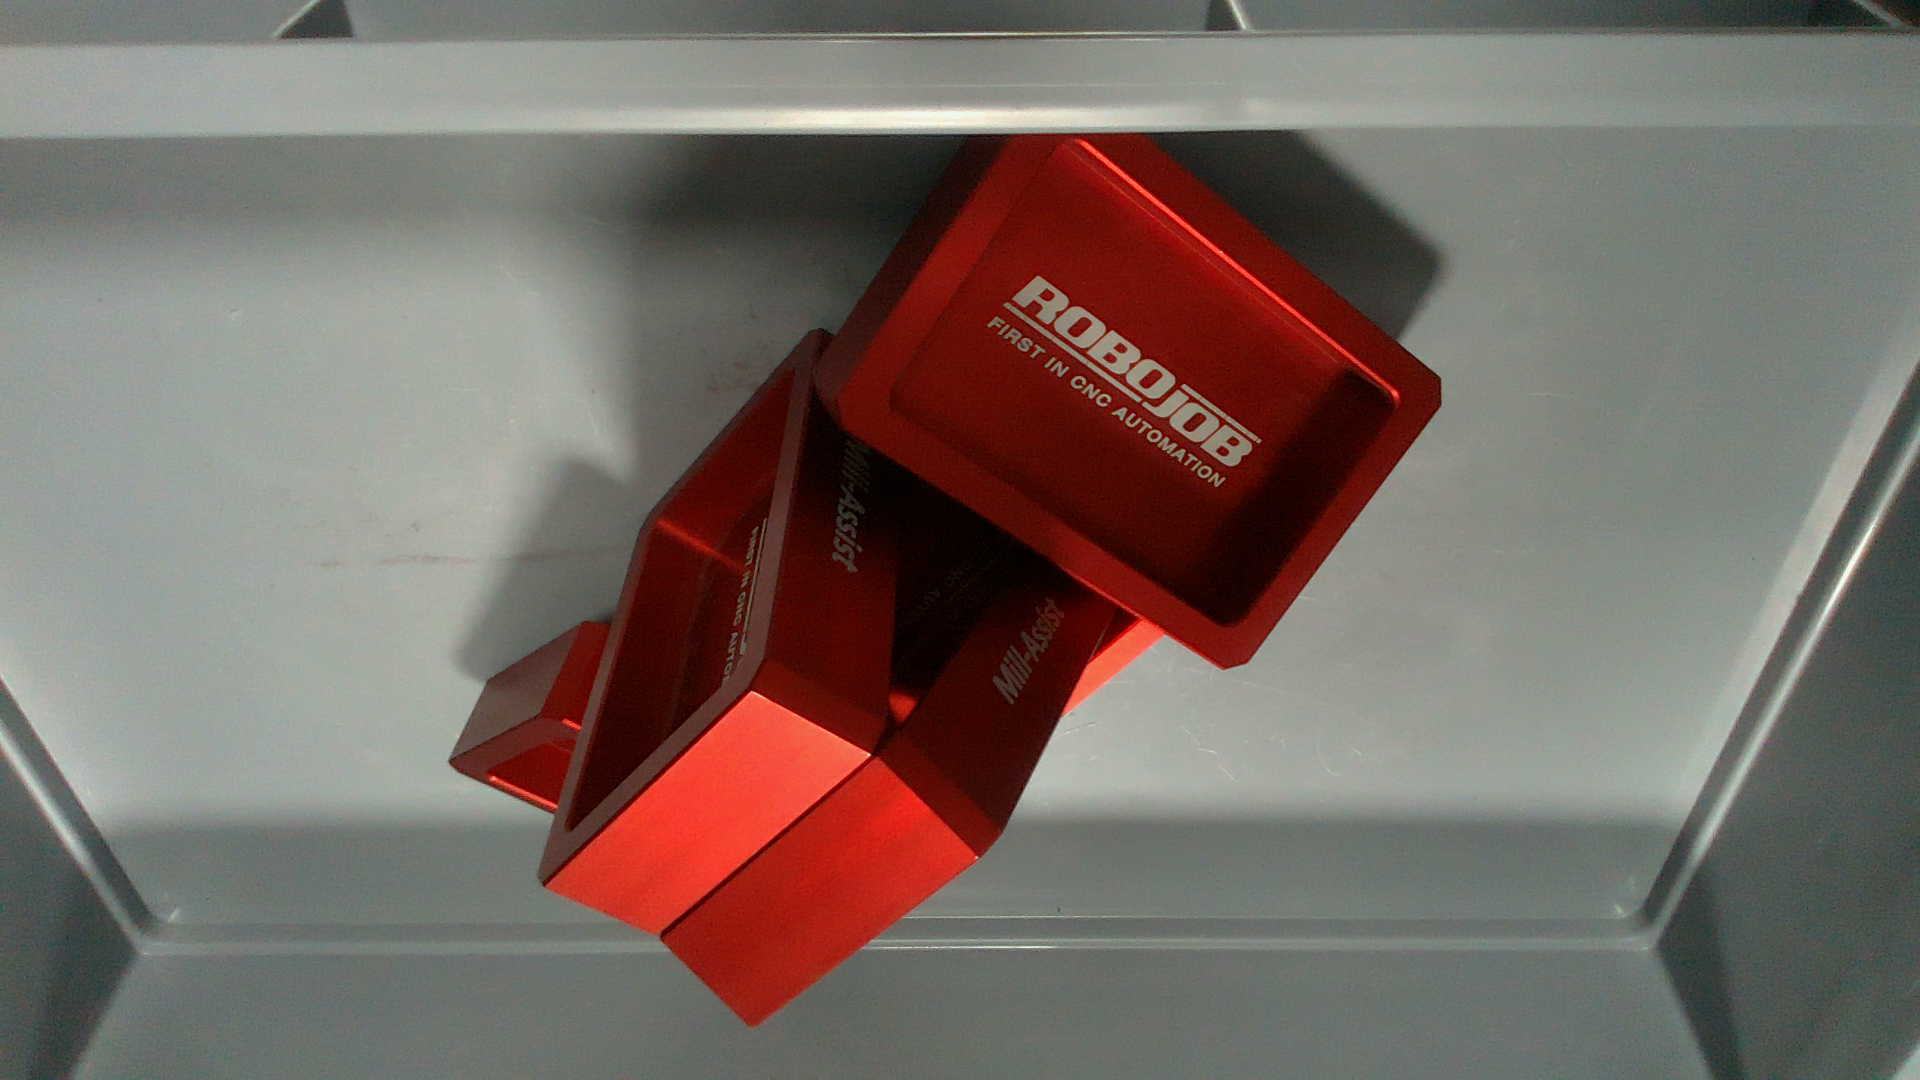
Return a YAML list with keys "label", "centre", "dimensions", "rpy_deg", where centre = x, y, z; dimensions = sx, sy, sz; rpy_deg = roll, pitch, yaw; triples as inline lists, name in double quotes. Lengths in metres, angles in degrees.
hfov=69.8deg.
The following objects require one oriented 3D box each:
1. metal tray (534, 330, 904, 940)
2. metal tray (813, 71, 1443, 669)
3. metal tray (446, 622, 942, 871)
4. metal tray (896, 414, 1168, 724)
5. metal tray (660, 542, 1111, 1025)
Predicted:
- label: "metal tray"
  centre: [-0.054, 0.018, 0.334]
  dimensions: [0.030, 0.130, 0.090]
  rpy_deg: [33, 123, -24]
- label: "metal tray"
  centre: [0.043, -0.037, 0.332]
  dimensions: [0.130, 0.030, 0.090]
  rpy_deg: [32, 98, -24]
- label: "metal tray"
  centre: [-0.082, 0.077, 0.427]
  dimensions: [0.130, 0.030, 0.090]
  rpy_deg: [32, 147, -25]
- label: "metal tray"
  centre: [0.000, 0.019, 0.401]
  dimensions: [0.090, 0.030, 0.130]
  rpy_deg: [32, 123, -24]
- label: "metal tray"
  centre: [-0.012, 0.051, 0.347]
  dimensions: [0.030, 0.130, 0.090]
  rpy_deg: [45, 120, -4]
